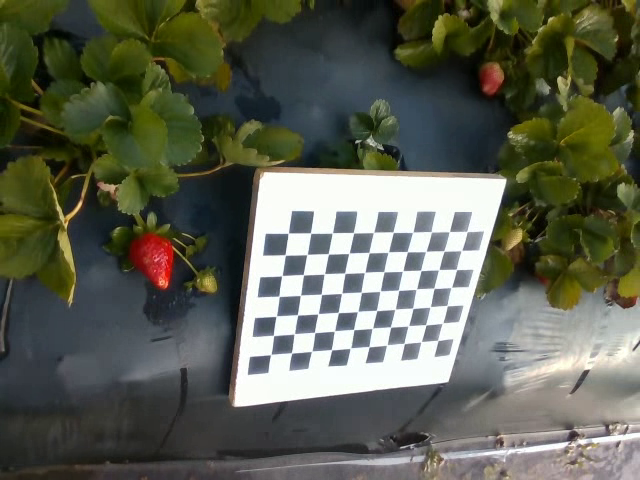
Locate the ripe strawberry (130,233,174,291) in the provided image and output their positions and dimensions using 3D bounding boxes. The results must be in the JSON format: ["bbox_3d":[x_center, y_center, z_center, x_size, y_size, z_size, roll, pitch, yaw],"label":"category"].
[{"bbox_3d":[-0.156,0.024,0.564,0.043,0.057,0.052,-22,-31,-7],"label":"ripe strawberry"}]
